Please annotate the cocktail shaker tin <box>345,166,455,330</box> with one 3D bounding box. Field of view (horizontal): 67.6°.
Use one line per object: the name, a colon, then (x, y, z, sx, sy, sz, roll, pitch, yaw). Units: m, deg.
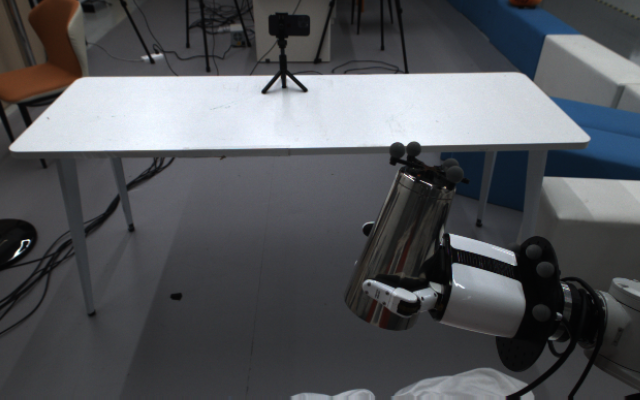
cocktail shaker tin: (0.096, 0.052, 0.557, 0.093, 0.170, 0.093, 14, 20, -5)
